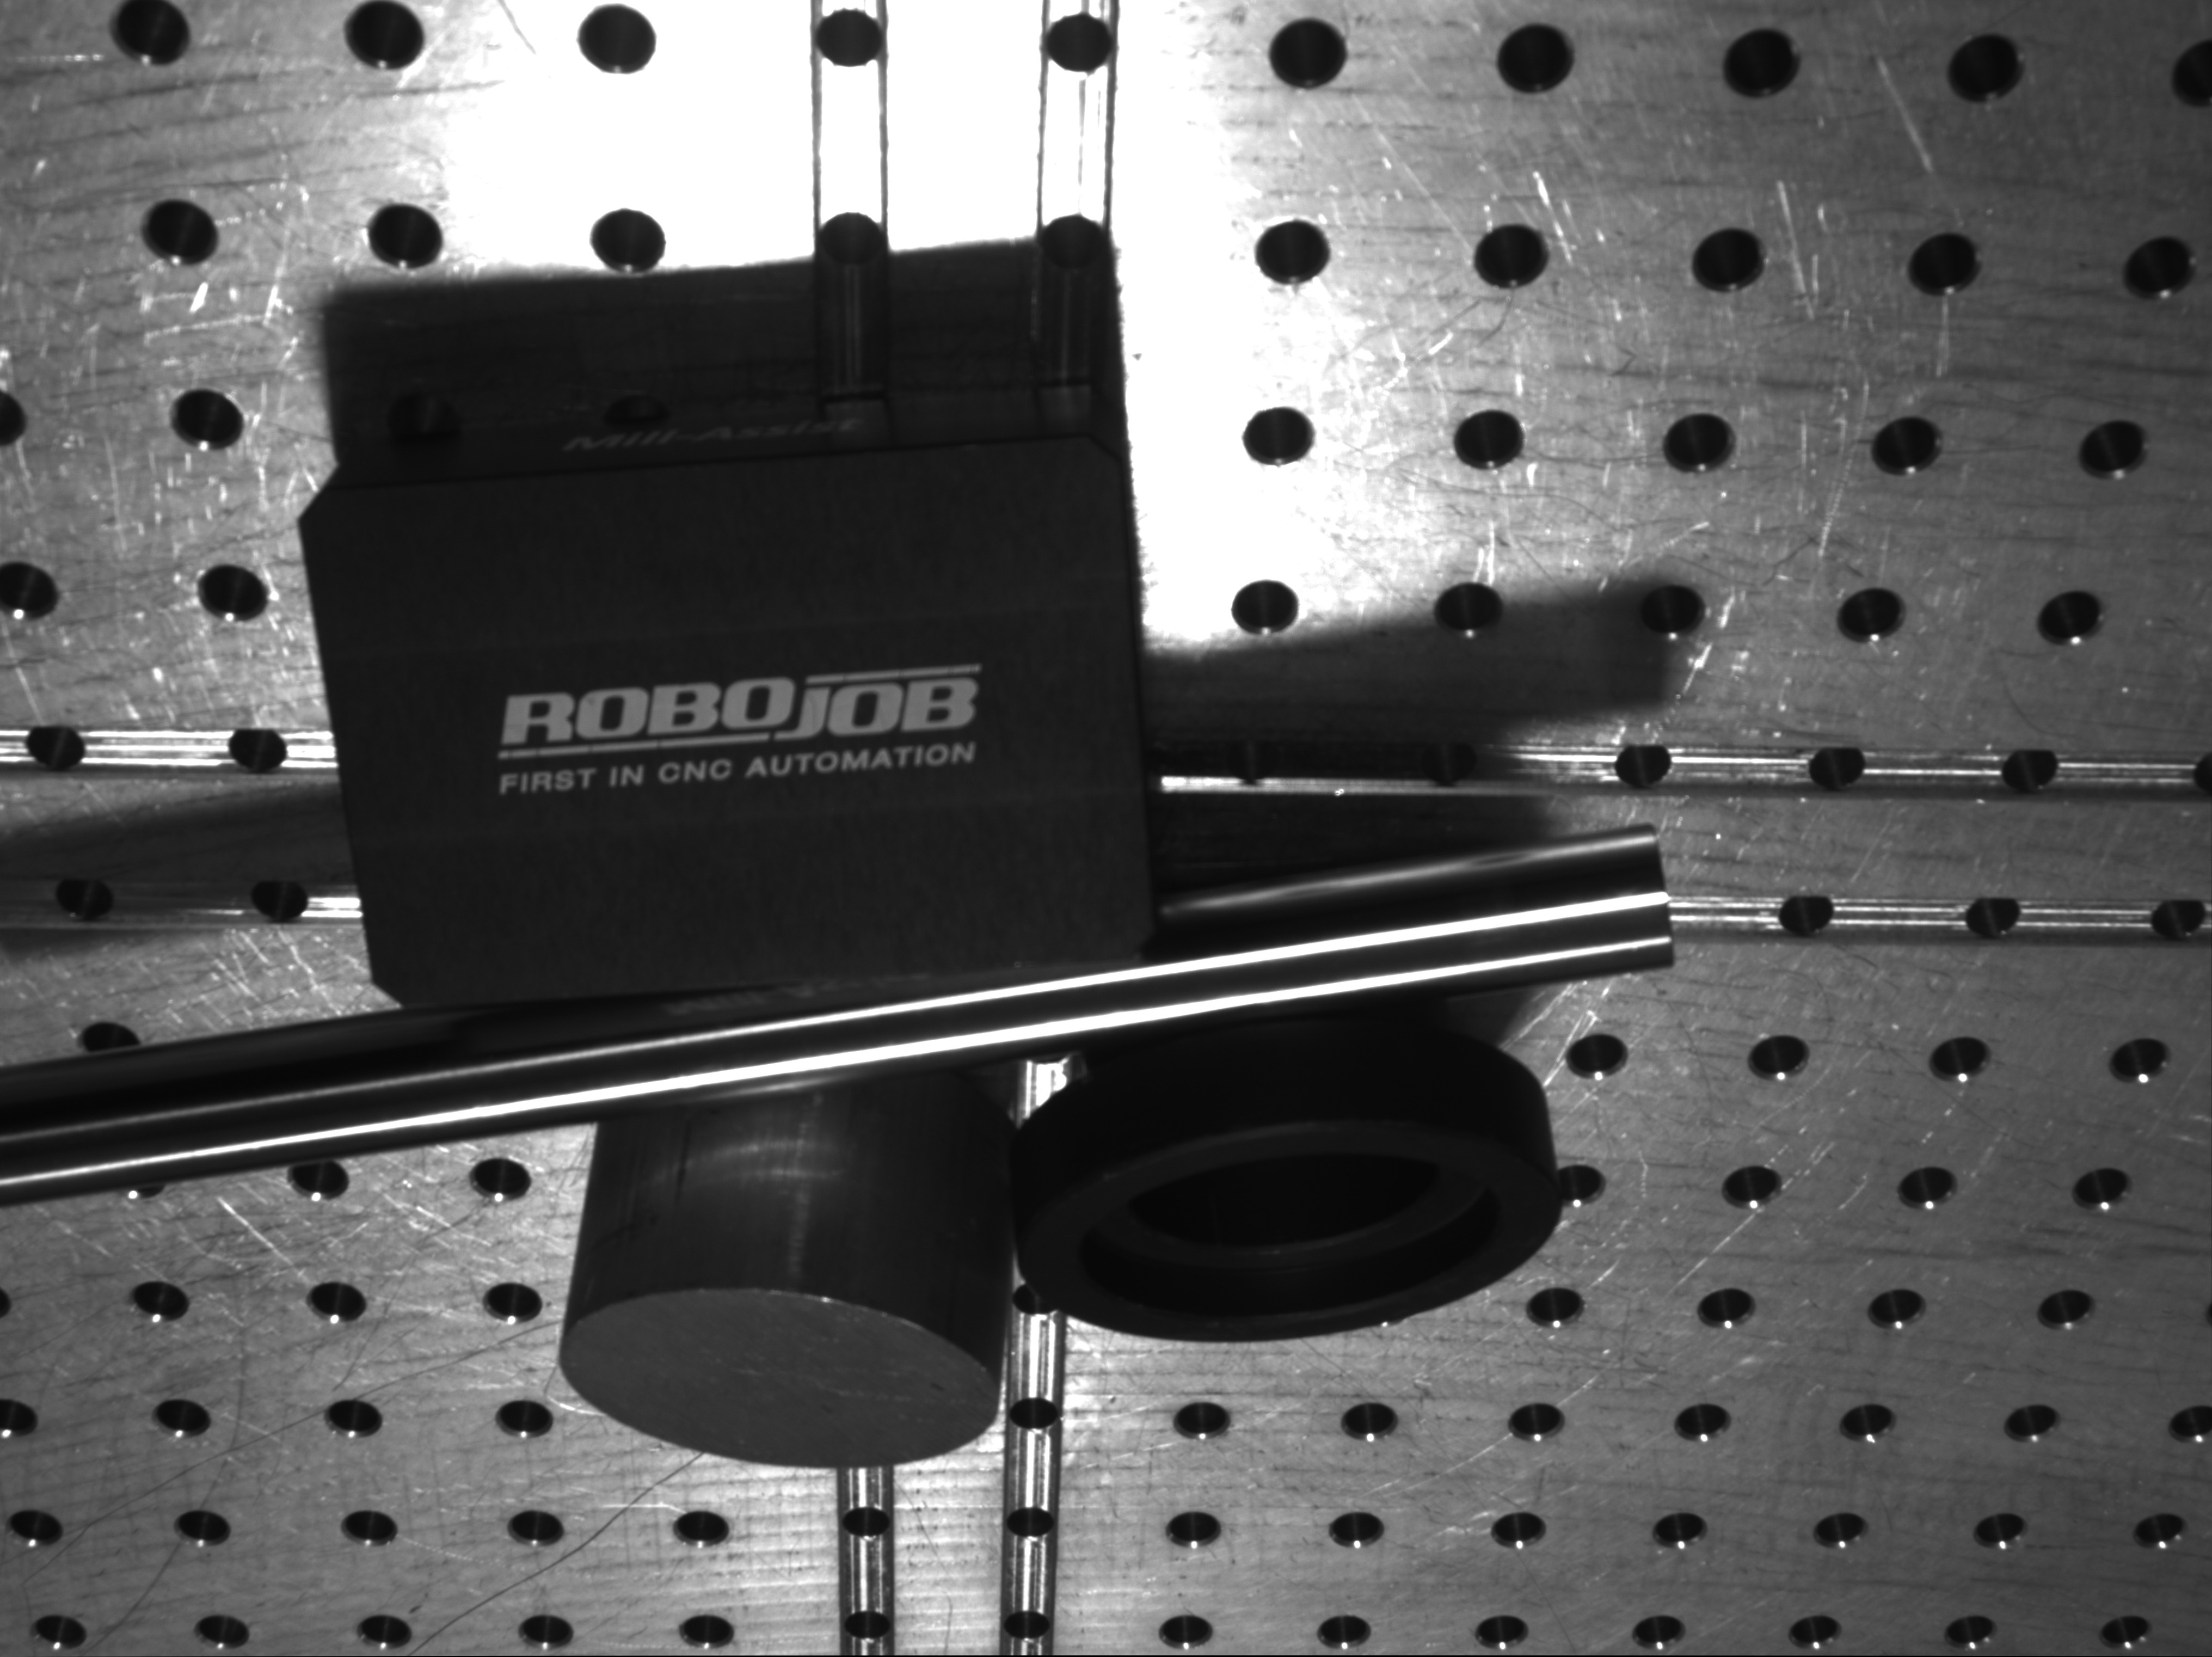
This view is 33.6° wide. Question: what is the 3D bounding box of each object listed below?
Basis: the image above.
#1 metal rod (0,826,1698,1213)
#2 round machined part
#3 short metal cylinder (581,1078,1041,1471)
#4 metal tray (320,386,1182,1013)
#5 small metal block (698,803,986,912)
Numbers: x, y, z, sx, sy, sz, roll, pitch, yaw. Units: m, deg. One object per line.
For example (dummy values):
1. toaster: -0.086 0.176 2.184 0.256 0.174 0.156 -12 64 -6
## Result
1. metal rod: -0.049 0.034 0.635 0.300 0.025 0.025 -8 130 5
2. round machined part: 0.035 0.056 0.663 0.098 0.042 0.098 -4 152 -2
3. short metal cylinder: -0.053 0.079 0.674 0.080 0.050 0.080 4 148 2
4. metal tray: -0.055 -0.021 0.601 0.130 0.030 0.090 -4 111 1
5. small metal block: -0.053 0.018 0.666 0.050 0.025 0.050 14 128 -13
